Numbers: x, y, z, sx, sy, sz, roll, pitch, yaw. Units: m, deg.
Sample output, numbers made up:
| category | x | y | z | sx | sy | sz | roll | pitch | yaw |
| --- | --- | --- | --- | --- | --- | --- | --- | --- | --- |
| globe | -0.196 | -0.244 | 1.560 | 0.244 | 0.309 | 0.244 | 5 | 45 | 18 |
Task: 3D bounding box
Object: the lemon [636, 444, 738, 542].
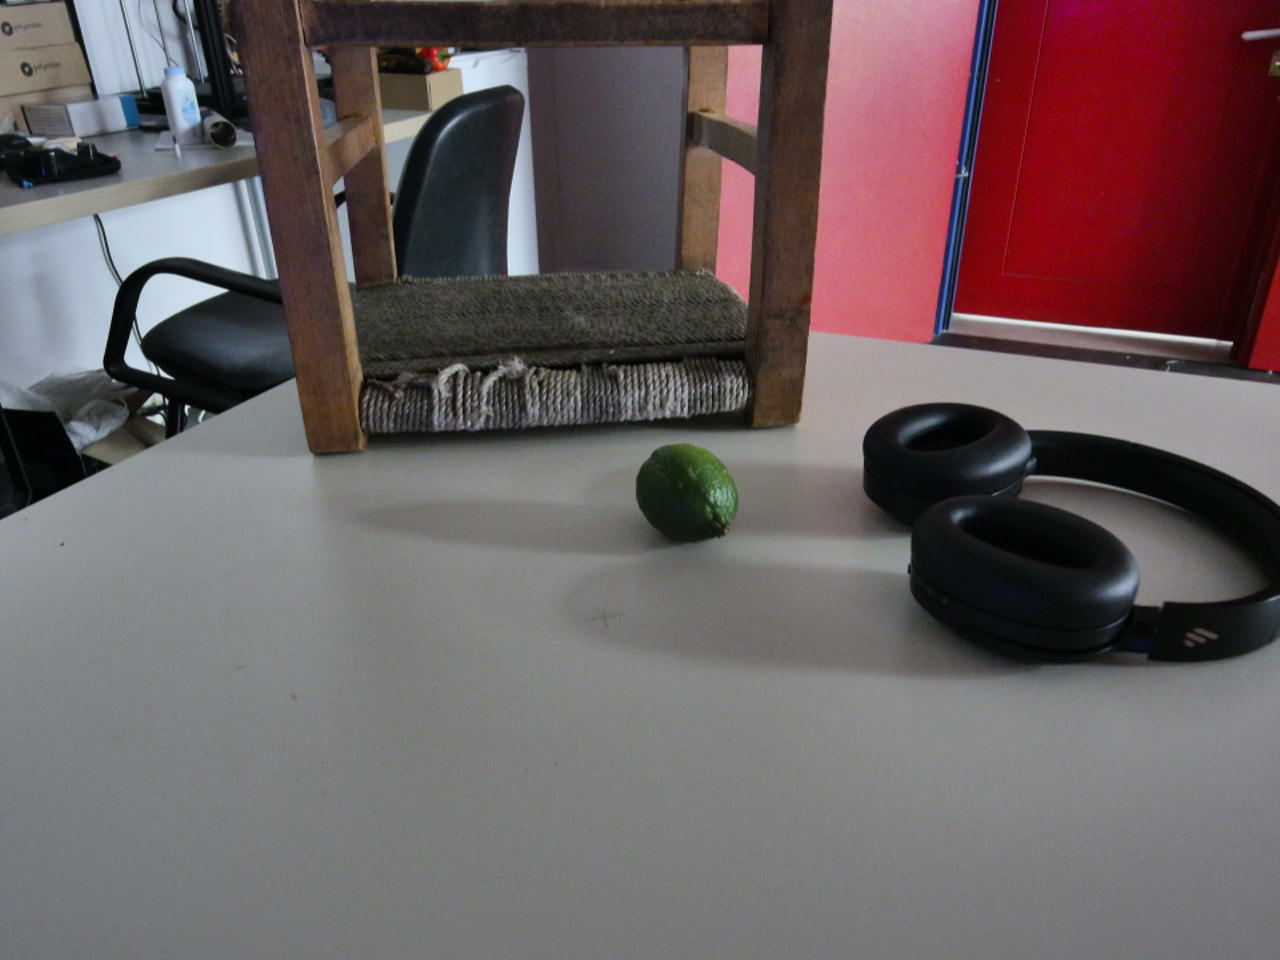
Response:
| category | x | y | z | sx | sy | sz | roll | pitch | yaw |
| --- | --- | --- | --- | --- | --- | --- | --- | --- | --- |
| lemon | 0.025 | 0.006 | 0.544 | 0.057 | 0.051 | 0.054 | 10 | 27 | 19 |
